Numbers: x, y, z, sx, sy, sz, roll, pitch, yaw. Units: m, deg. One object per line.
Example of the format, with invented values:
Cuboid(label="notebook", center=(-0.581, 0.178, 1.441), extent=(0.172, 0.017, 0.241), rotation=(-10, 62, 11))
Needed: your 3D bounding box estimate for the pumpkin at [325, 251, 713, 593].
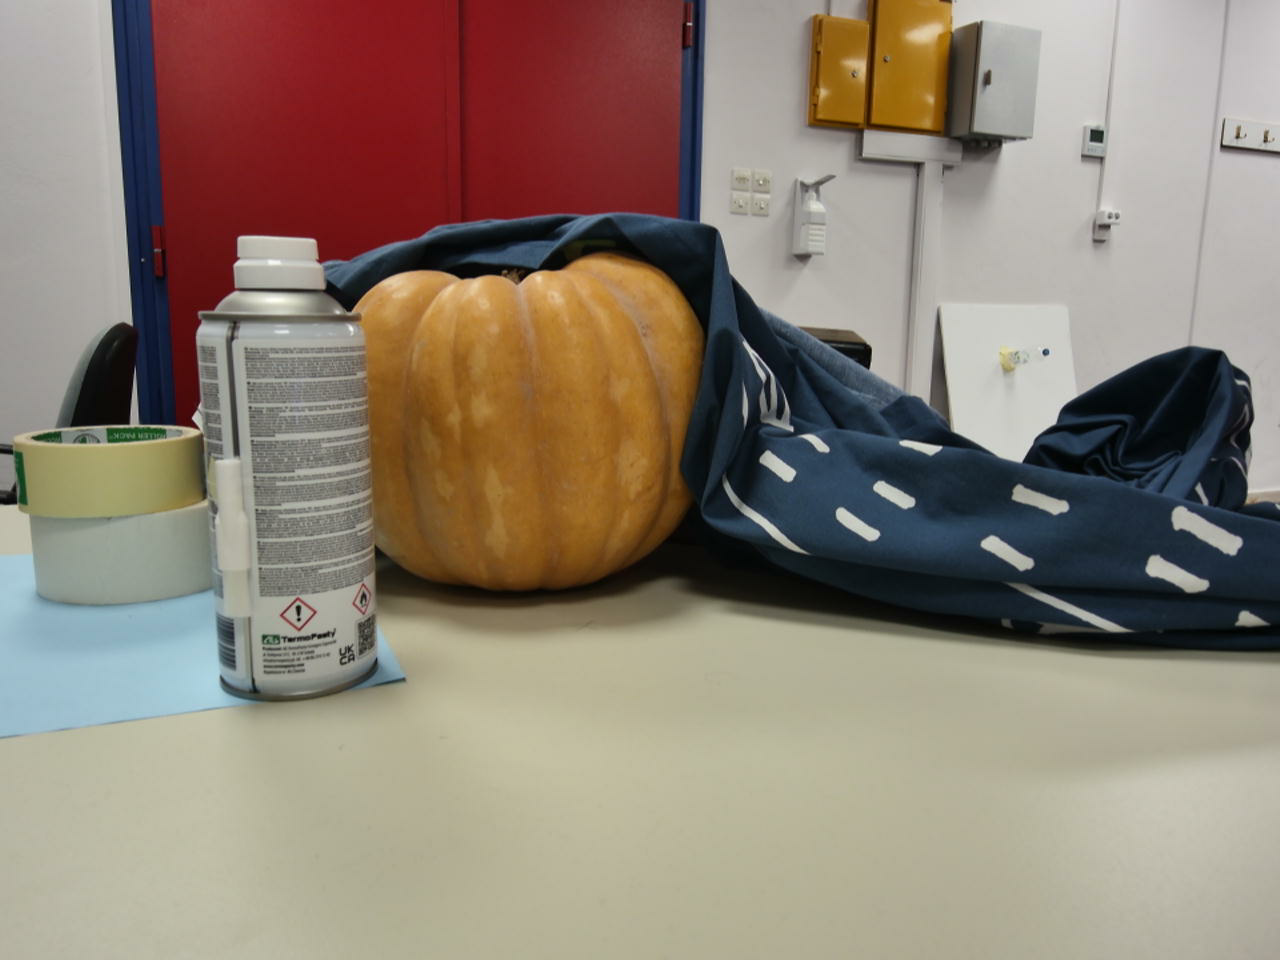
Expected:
Cuboid(label="pumpkin", center=(-0.065, -0.035, 0.586), extent=(0.230, 0.194, 0.230), rotation=(1, 8, 0))
